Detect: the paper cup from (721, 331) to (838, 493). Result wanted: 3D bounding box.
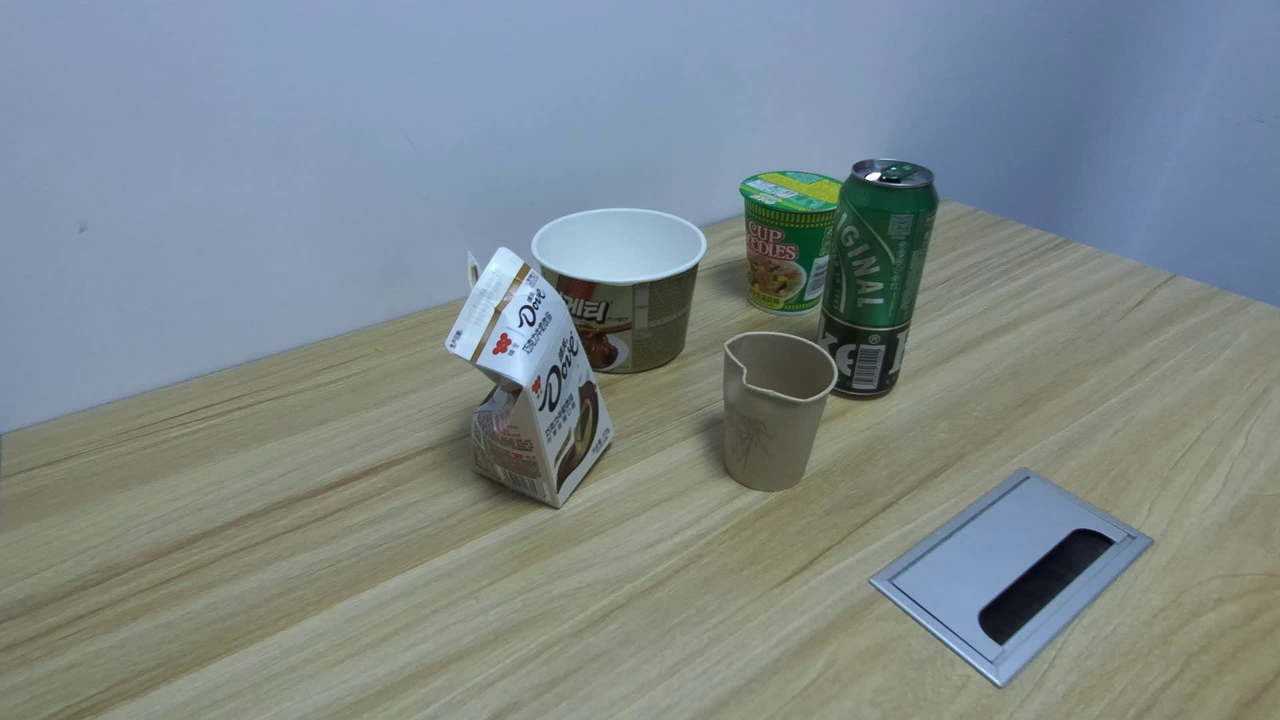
[{"bbox_3d":[0.085,0.035,0.456,0.073,0.081,0.069,13,35,18],"label":"paper cup"}]

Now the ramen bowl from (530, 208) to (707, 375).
[{"bbox_3d":[-0.017,-0.056,0.588,0.140,0.095,0.140,1,33,0],"label":"ramen bowl"}]

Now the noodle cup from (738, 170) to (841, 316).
[{"bbox_3d":[0.138,-0.103,0.641,0.097,0.110,0.097,0,32,1],"label":"noodle cup"}]

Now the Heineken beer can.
[{"bbox_3d":[0.171,-0.055,0.521,0.067,0.169,0.067,0,31,1],"label":"Heineken beer can"}]

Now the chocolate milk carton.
[{"bbox_3d":[-0.073,0.012,0.442,0.076,0.156,0.089,11,48,25],"label":"chocolate milk carton"}]
